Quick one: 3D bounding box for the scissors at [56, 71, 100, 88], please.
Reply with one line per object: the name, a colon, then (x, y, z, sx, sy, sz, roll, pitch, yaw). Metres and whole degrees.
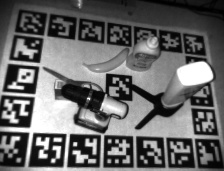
scissors: (-0.130, -0.024, 0.657, 0.203, 0.016, 0.088, 29, 71, -7)

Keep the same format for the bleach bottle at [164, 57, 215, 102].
bleach bottle: (0.228, 0.000, 0.700, 0.103, 0.251, 0.067, -16, 70, -9)

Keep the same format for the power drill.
power drill: (-0.062, 0.062, 0.629, 0.185, 0.187, 0.057, 15, 61, -3)

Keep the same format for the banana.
banana: (-0.004, -0.122, 0.811, 0.198, 0.039, 0.073, -36, 65, -21)

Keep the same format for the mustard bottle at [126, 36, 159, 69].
mustard bottle: (0.114, -0.123, 0.768, 0.096, 0.191, 0.058, 17, 68, -6)

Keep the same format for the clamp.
clamp: (0.175, 0.047, 0.784, 0.204, 0.036, 0.165, -2, 74, -15)

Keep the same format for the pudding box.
pudding box: (-0.133, 0.005, 0.716, 0.114, 0.090, 0.038, 8, 63, -10)
